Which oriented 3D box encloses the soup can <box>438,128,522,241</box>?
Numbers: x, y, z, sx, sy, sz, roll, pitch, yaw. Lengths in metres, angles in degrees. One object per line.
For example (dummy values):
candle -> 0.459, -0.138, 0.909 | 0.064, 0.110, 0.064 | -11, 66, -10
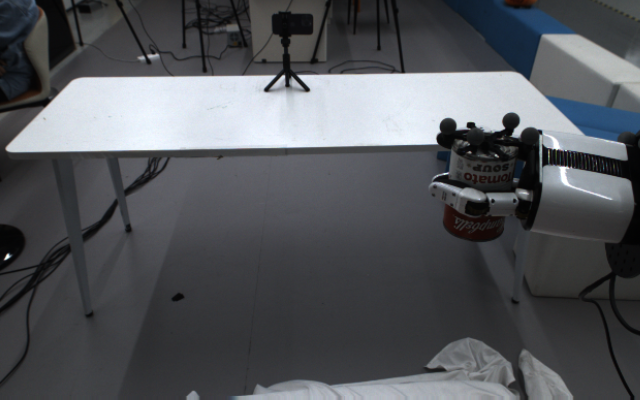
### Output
soup can -> 0.176, -0.015, 0.529 | 0.067, 0.101, 0.067 | -2, 33, 1
